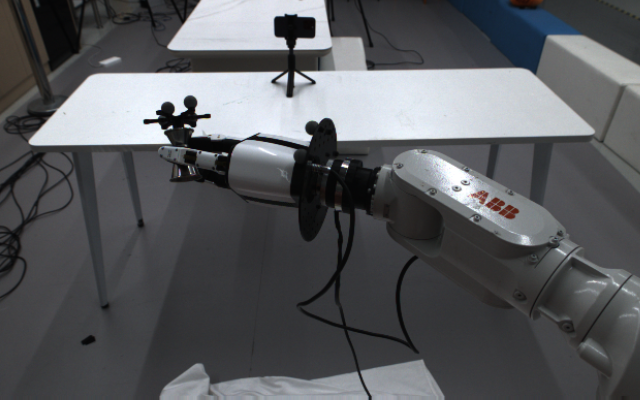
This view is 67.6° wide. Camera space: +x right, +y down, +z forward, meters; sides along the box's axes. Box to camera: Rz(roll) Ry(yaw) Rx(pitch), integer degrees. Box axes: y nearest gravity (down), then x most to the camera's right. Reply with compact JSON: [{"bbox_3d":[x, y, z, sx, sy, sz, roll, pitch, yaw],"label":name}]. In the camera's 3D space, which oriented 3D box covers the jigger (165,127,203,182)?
[{"bbox_3d":[-0.188,-0.060,0.664,0.043,0.071,0.043,-9,-4,-1],"label":"jigger"}]
